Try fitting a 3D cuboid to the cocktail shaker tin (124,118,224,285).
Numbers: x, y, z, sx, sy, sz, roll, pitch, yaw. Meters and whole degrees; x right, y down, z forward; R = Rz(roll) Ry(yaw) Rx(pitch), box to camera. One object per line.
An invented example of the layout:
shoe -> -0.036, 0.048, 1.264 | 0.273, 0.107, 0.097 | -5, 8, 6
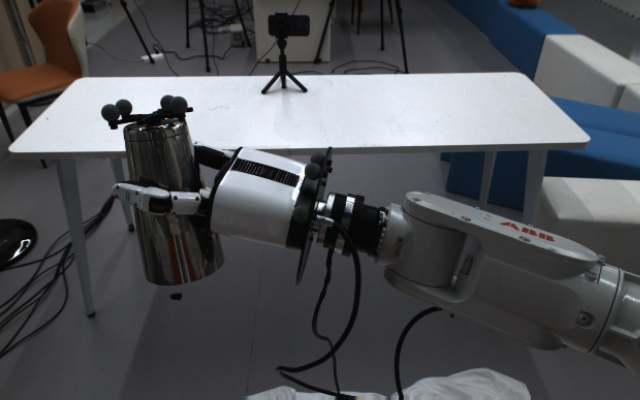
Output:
cocktail shaker tin -> -0.167, 0.000, 0.543 | 0.093, 0.170, 0.093 | -6, 19, 2
